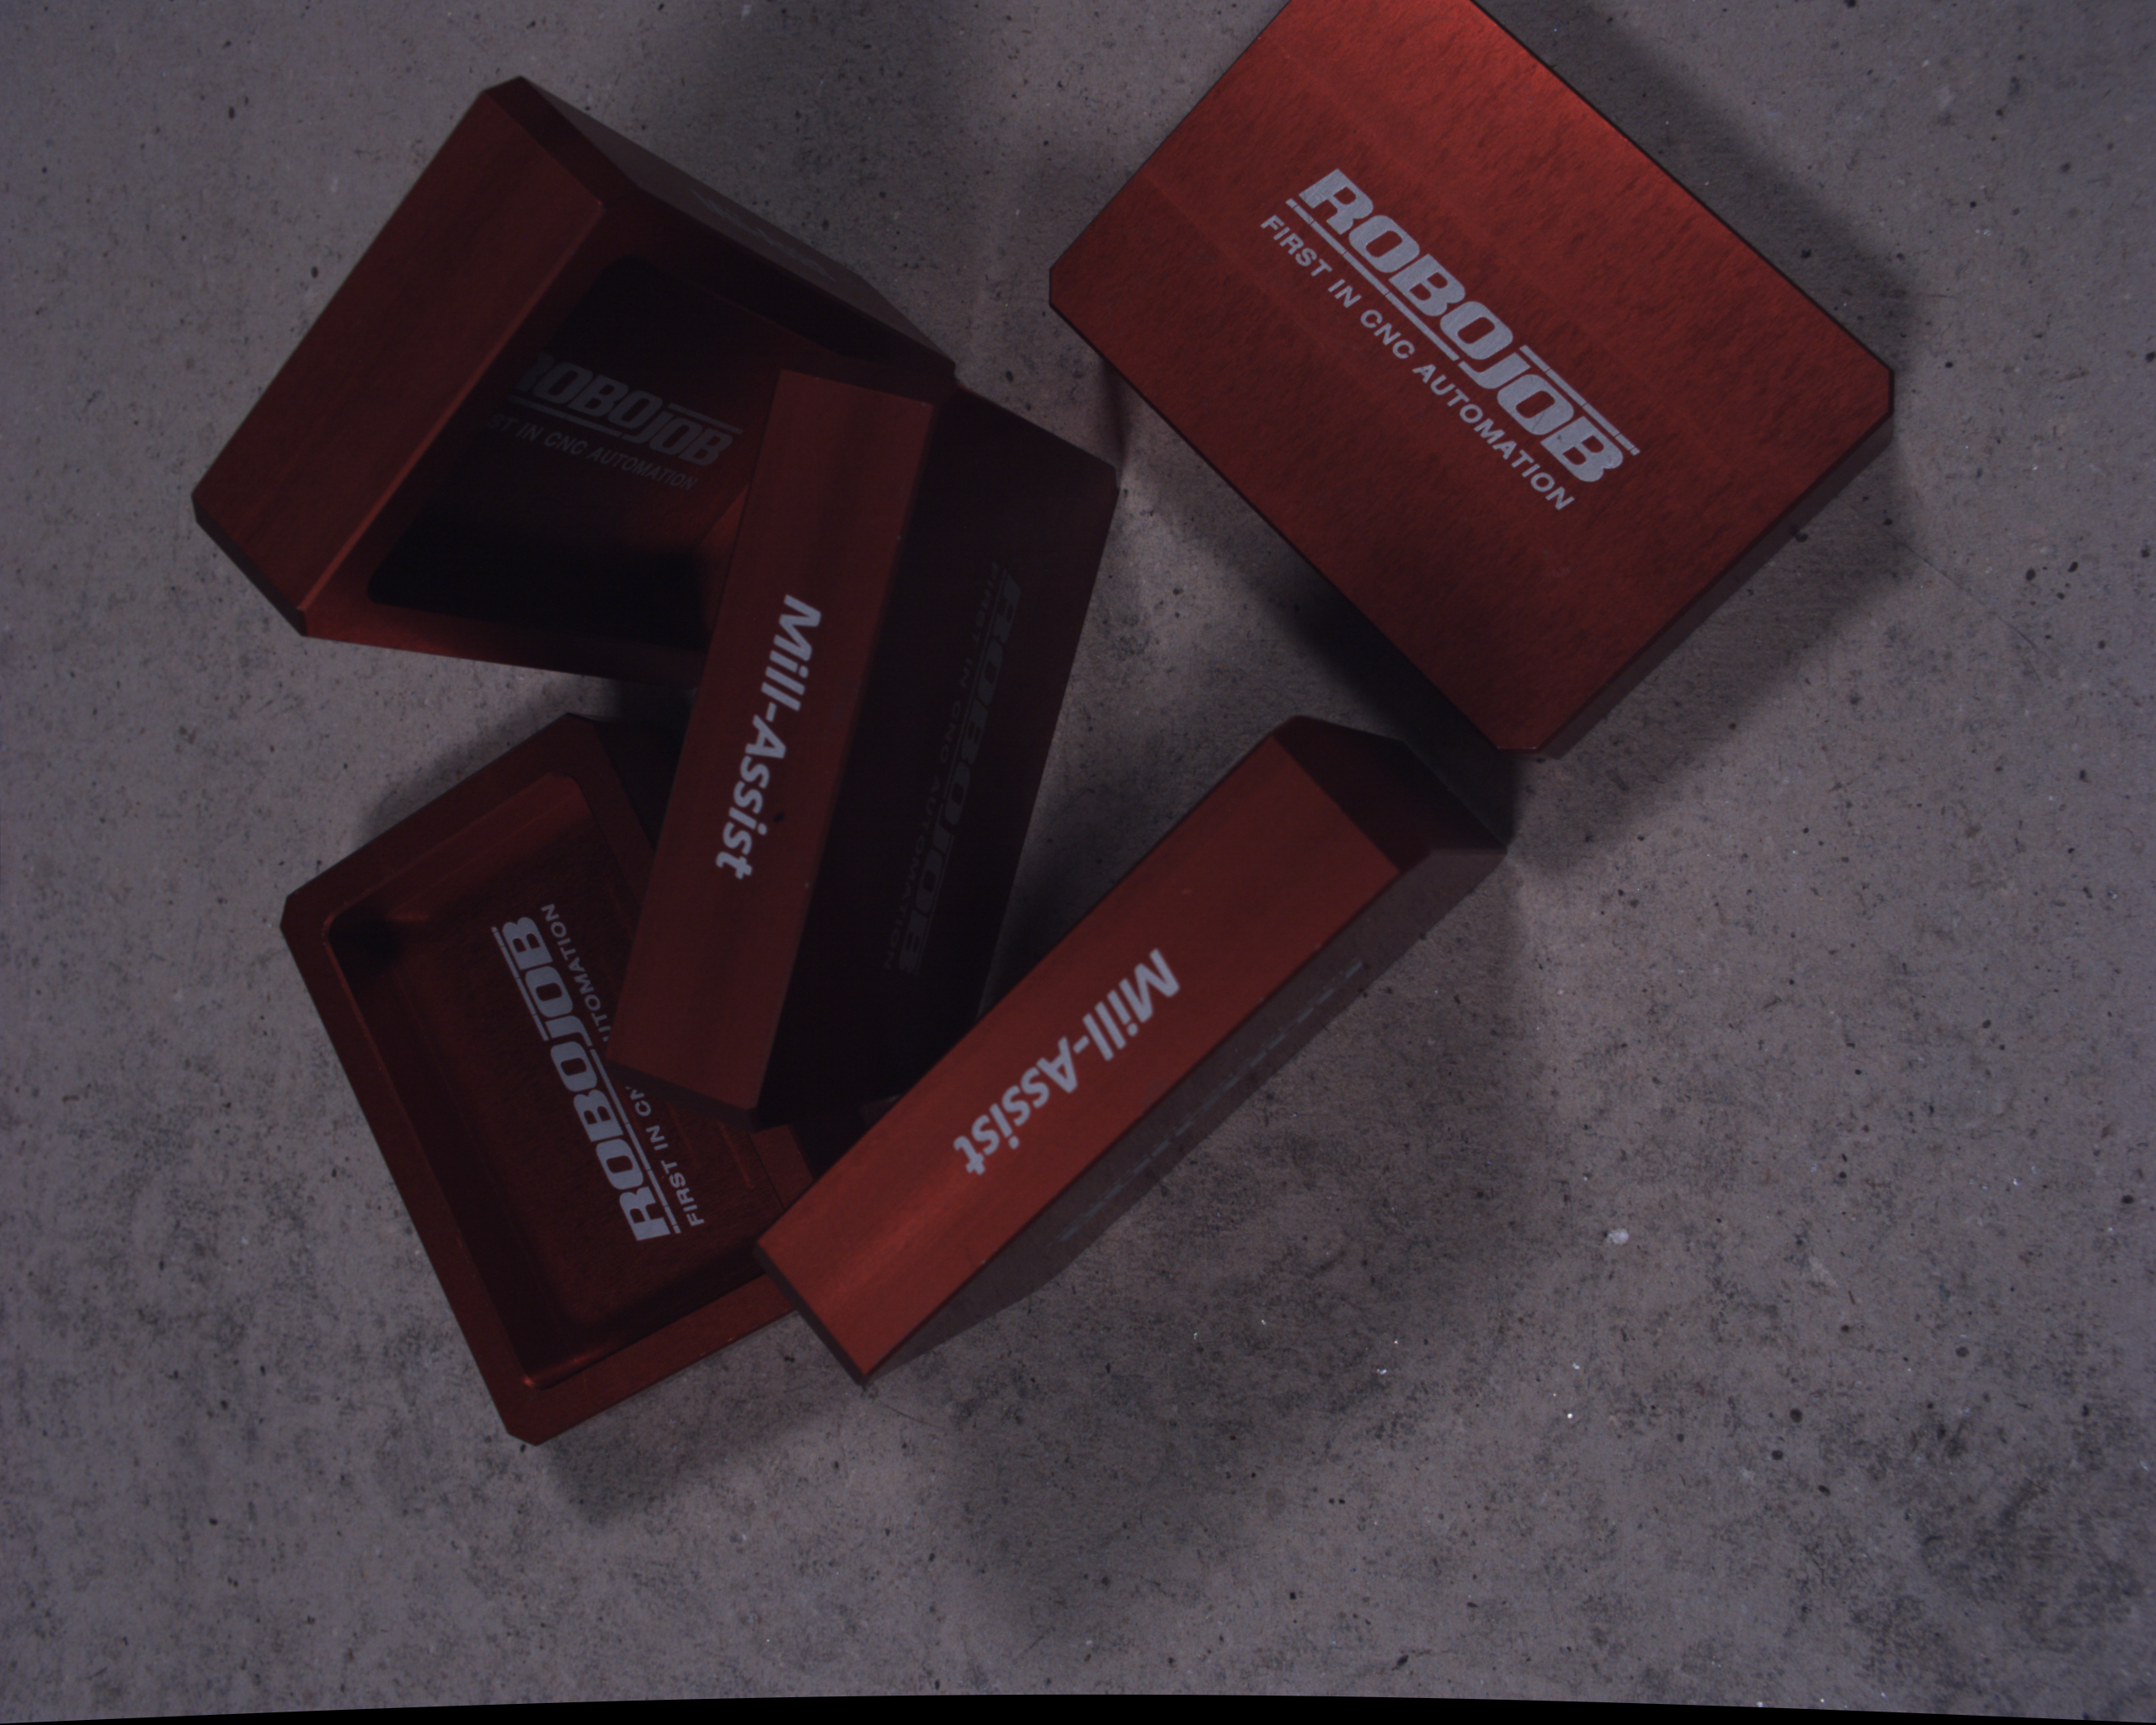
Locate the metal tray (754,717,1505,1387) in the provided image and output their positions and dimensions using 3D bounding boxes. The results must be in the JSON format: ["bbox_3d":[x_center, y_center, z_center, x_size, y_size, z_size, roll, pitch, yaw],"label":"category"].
[{"bbox_3d":[0.013,0.032,0.370,0.130,0.090,0.030,-45,76,14],"label":"metal tray"}]

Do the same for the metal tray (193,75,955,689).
[{"bbox_3d":[-0.084,-0.079,0.383,0.030,0.130,0.090,45,104,14],"label":"metal tray"}]

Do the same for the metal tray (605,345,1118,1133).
[{"bbox_3d":[-0.036,-0.021,0.387,0.030,0.090,0.129,17,96,19],"label":"metal tray"}]

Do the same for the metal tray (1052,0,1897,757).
[{"bbox_3d":[0.070,-0.094,0.382,0.090,0.030,0.130,-46,76,14],"label":"metal tray"}]

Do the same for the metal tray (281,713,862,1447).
[{"bbox_3d":[-0.103,0.045,0.442,0.090,0.030,0.130,-30,81,17],"label":"metal tray"}]
